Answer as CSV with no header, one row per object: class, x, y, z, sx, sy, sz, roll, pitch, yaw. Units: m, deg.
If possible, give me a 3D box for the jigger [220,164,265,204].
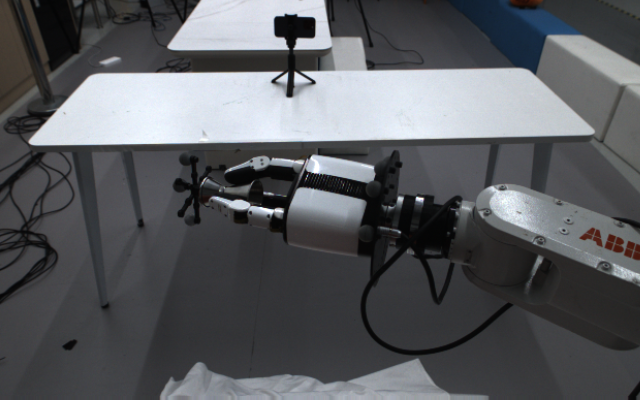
jigger,-0.104,-0.009,0.604,0.071,0.043,0.043,6,34,16
